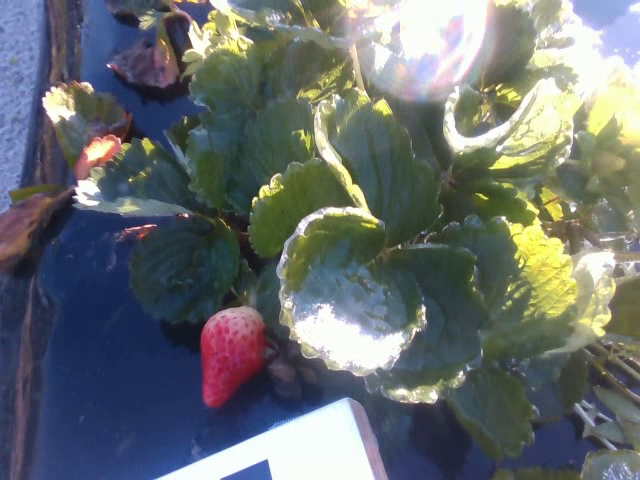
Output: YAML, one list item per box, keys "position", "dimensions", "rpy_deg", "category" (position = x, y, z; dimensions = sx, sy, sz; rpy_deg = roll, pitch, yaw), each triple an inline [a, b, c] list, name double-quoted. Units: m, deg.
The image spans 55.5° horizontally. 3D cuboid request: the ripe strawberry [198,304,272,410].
- position: [-0.058, 0.064, 0.338]
  dimensions: [0.040, 0.065, 0.040]
  rpy_deg: [14, -17, 27]
  category: "ripe strawberry"
